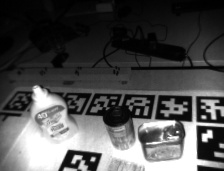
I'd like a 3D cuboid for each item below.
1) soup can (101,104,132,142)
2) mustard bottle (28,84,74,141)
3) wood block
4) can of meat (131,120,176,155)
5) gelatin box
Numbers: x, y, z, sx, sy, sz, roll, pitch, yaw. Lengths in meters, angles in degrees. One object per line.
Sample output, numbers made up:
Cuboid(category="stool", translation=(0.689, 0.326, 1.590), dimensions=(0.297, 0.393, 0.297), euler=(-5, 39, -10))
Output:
Cuboid(category="soup can", translation=(0.013, 0.094, 0.564), dimensions=(0.067, 0.103, 0.067), euler=(-9, 42, 9))
Cuboid(category="mustard bottle", translation=(-0.179, 0.073, 0.597), dimensions=(0.096, 0.193, 0.058), euler=(-16, 40, -2))
Cuboid(category="wood block", translation=(-0.288, 0.178, 0.584), dimensions=(0.090, 0.090, 0.206), euler=(3, 40, 18))
Cuboid(category="can of meat", translation=(0.104, 0.123, 0.532), dimensions=(0.101, 0.084, 0.057), euler=(-8, 42, 6))
Cuboid(category="gelatin box", translation=(0.012, 0.203, 0.504), dimensions=(0.088, 0.030, 0.073), euler=(7, 47, 27))
